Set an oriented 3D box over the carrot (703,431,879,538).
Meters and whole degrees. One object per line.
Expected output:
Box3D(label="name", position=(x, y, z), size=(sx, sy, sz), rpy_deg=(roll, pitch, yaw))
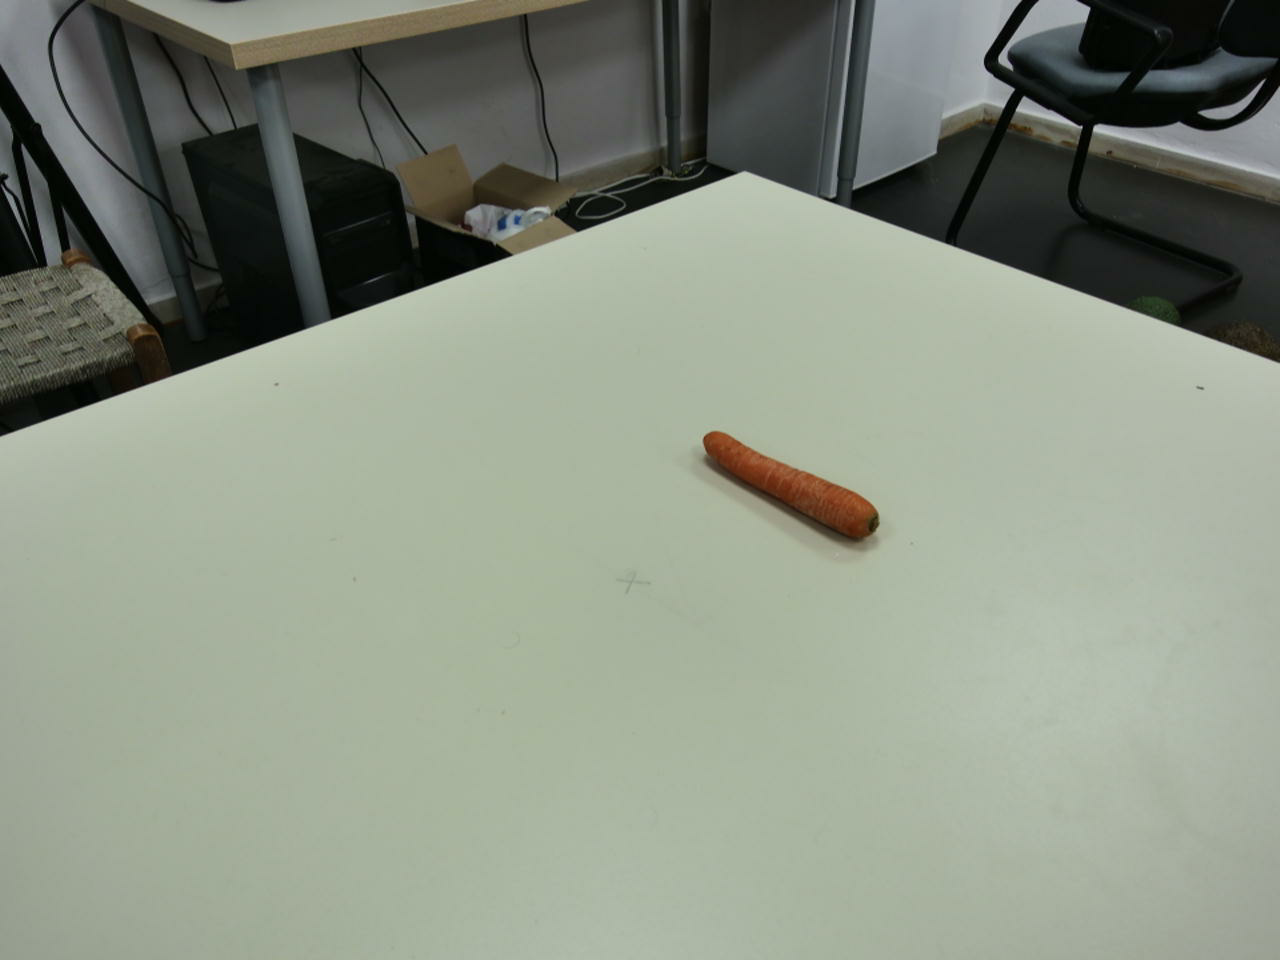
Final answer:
Box3D(label="carrot", position=(0.081, 0.000, 0.560), size=(0.024, 0.023, 0.122), rpy_deg=(-29, 45, -34))
